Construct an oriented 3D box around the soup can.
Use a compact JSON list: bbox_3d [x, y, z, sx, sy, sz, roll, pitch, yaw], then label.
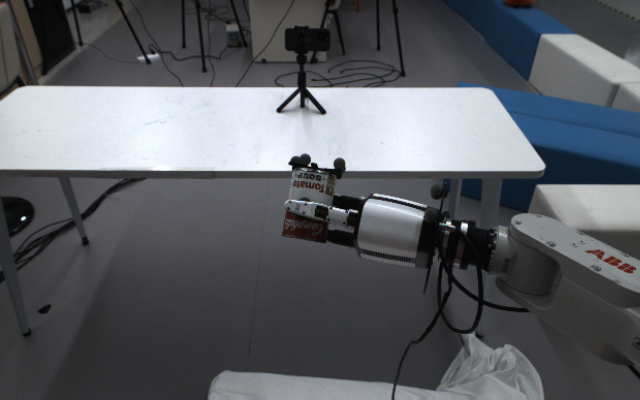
[{"bbox_3d":[-0.015,0.009,0.717,0.067,0.101,0.067,9,-5,1],"label":"soup can"}]
